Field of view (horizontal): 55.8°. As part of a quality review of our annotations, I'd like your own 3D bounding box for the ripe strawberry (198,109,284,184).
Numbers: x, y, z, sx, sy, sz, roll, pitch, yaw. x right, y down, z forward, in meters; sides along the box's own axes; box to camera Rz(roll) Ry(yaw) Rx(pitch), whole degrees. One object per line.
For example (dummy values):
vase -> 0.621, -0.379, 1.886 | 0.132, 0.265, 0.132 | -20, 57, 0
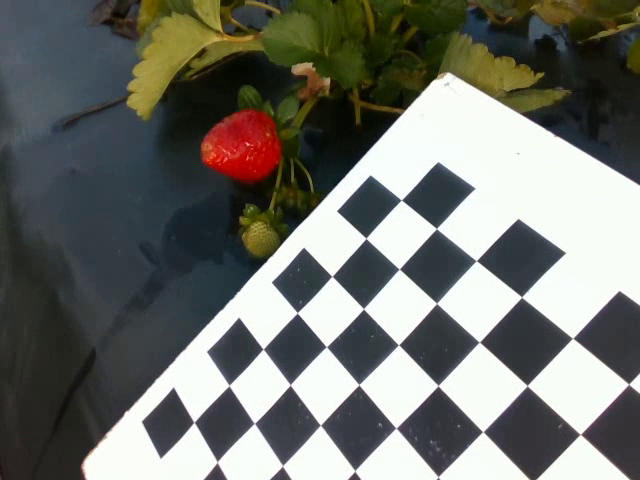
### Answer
ripe strawberry -> -0.051, -0.056, 0.362 | 0.043, 0.052, 0.057 | 12, 14, 39
